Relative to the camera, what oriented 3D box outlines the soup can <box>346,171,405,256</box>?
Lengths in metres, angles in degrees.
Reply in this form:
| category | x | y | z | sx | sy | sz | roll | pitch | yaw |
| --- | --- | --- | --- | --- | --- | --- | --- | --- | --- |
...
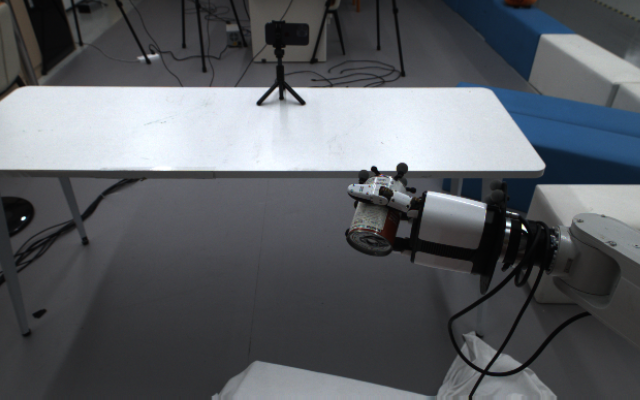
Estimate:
| category | x | y | z | sx | sy | sz | roll | pitch | yaw |
| --- | --- | --- | --- | --- | --- | --- | --- | --- | --- |
| soup can | 0.084 | 0.020 | 0.709 | 0.067 | 0.067 | 0.101 | 12 | 59 | 14 |
